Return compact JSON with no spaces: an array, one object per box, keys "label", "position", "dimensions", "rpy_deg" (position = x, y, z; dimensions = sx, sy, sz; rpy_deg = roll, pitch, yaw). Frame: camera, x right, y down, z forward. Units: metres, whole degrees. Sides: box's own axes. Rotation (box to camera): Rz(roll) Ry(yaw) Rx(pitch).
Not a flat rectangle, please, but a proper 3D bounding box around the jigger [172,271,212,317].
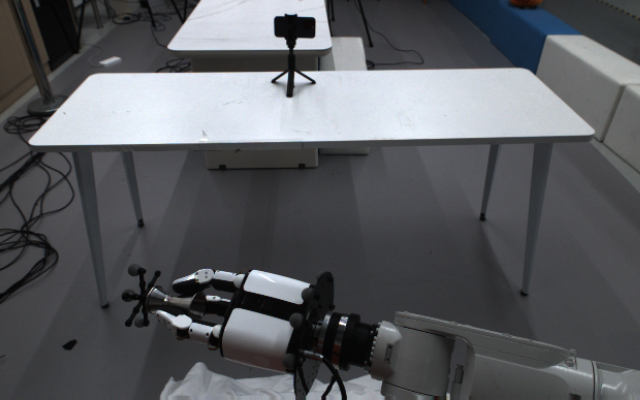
[{"label":"jigger","position":[-0.188,0.139,0.658],"dimensions":[0.071,0.043,0.043],"rpy_deg":[6,35,15]}]
